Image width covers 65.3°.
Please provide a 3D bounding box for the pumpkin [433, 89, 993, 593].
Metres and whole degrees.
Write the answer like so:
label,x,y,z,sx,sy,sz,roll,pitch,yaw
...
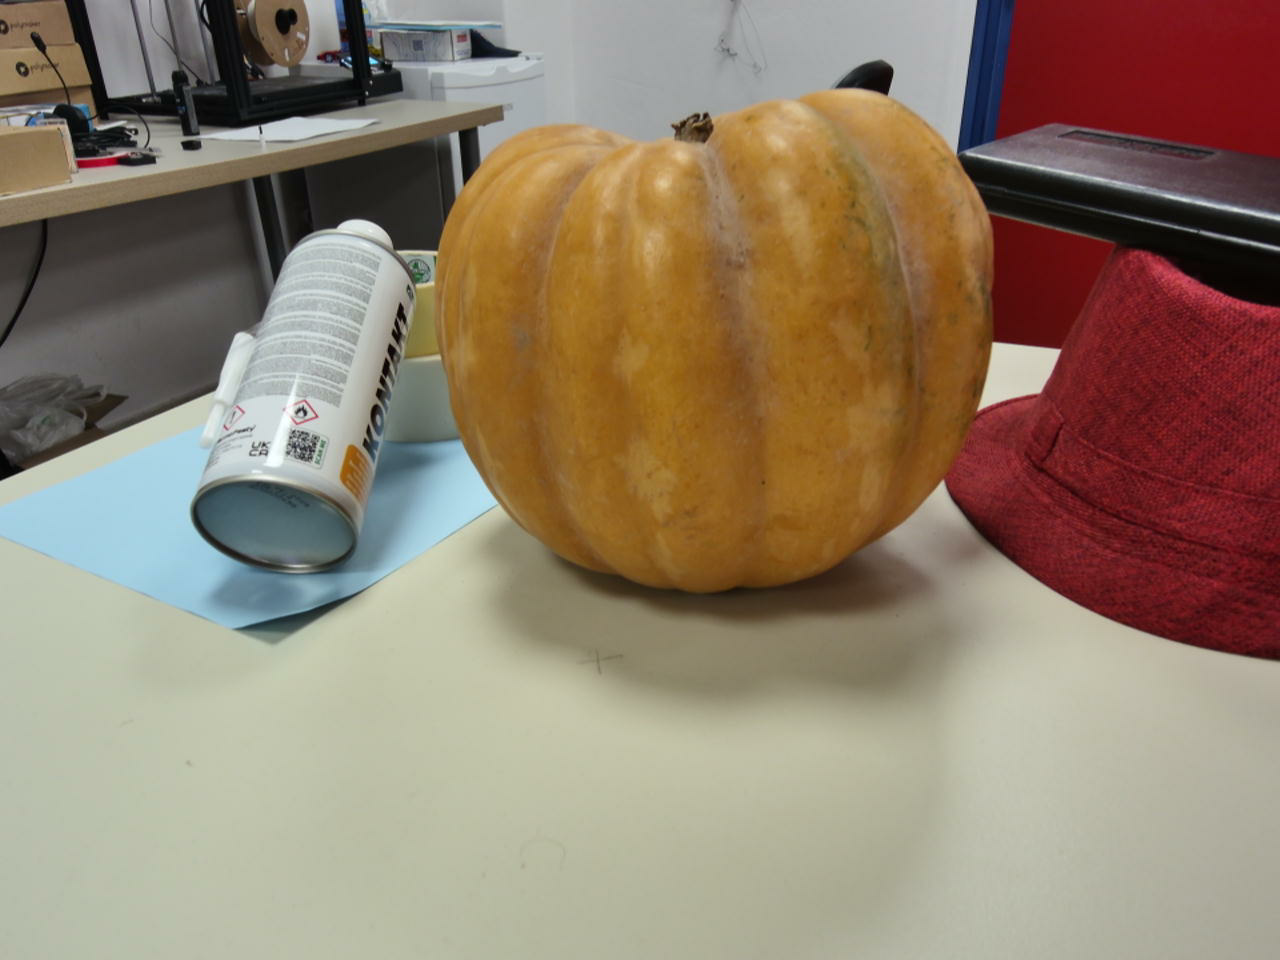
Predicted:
label,x,y,z,sx,sy,sz,roll,pitch,yaw
pumpkin,0.030,-0.058,0.413,0.230,0.194,0.230,0,24,0
